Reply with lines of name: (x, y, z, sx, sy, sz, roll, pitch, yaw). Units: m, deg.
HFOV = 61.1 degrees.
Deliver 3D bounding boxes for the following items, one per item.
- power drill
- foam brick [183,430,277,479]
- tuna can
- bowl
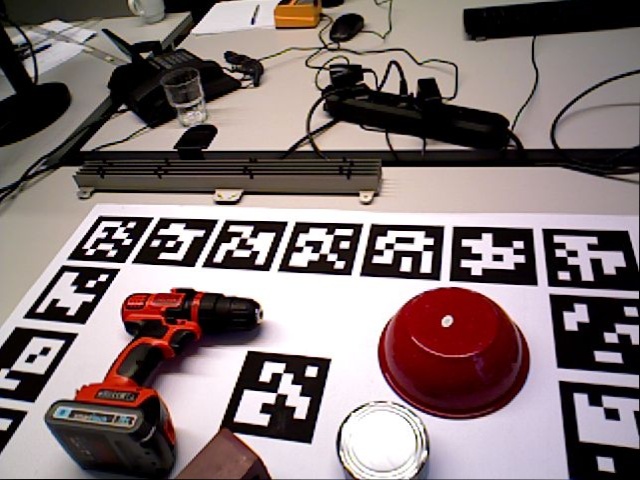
power drill: (-0.177, 0.141, 0.593, 0.185, 0.058, 0.183, 3, 42, 11)
foam brick: (-0.086, 0.224, 0.490, 0.051, 0.054, 0.076, 22, 54, 30)
tuna can: (0.066, 0.188, 0.495, 0.085, 0.034, 0.084, -5, 43, 4)
bowl: (0.139, 0.102, 0.570, 0.161, 0.056, 0.159, -9, 35, 5)
